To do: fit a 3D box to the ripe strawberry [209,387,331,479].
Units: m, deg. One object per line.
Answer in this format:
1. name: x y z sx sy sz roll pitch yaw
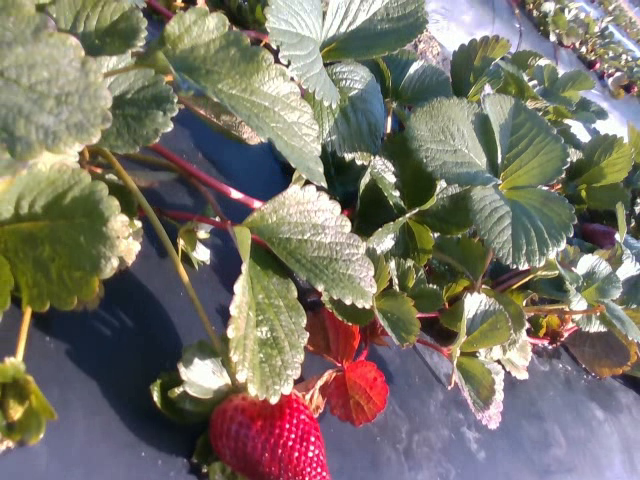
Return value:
1. ripe strawberry: -0.014 0.073 0.202 0.040 0.041 0.056 -29 57 -27
